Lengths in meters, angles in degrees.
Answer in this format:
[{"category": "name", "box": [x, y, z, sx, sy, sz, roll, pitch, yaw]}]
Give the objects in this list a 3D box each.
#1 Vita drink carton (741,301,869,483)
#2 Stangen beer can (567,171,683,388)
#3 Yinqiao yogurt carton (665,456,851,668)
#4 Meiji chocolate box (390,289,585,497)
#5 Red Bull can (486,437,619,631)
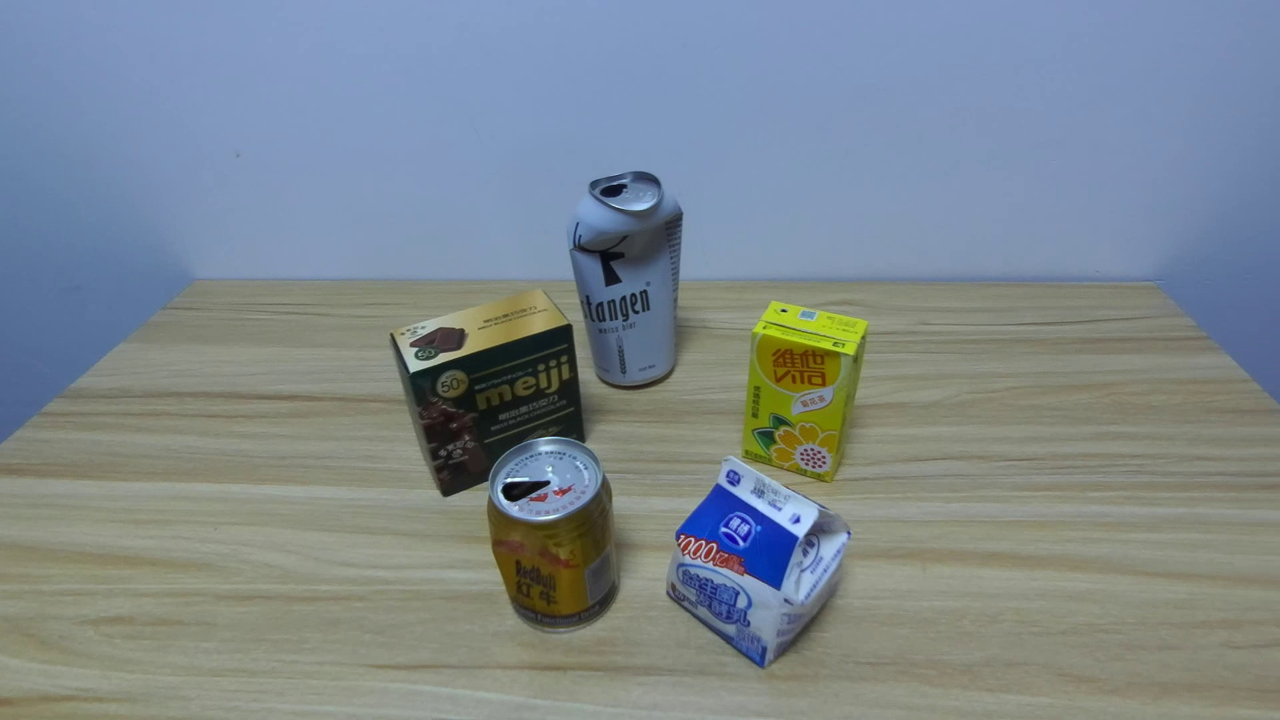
[{"category": "Vita drink carton", "box": [0.107, 0.021, 0.467, 0.066, 0.109, 0.043, 15, 40, 21]}, {"category": "Stangen beer can", "box": [-0.008, -0.056, 0.537, 0.065, 0.162, 0.077, 13, 39, 21]}, {"category": "Yinqiao yogurt carton", "box": [0.066, 0.097, 0.380, 0.083, 0.093, 0.077, 29, 46, 36]}, {"category": "Meiji chocolate box", "box": [-0.100, 0.022, 0.485, 0.110, 0.109, 0.056, -19, 39, -21]}, {"category": "Red Bull can", "box": [-0.046, 0.096, 0.390, 0.069, 0.092, 0.069, -2, 38, 2]}]
